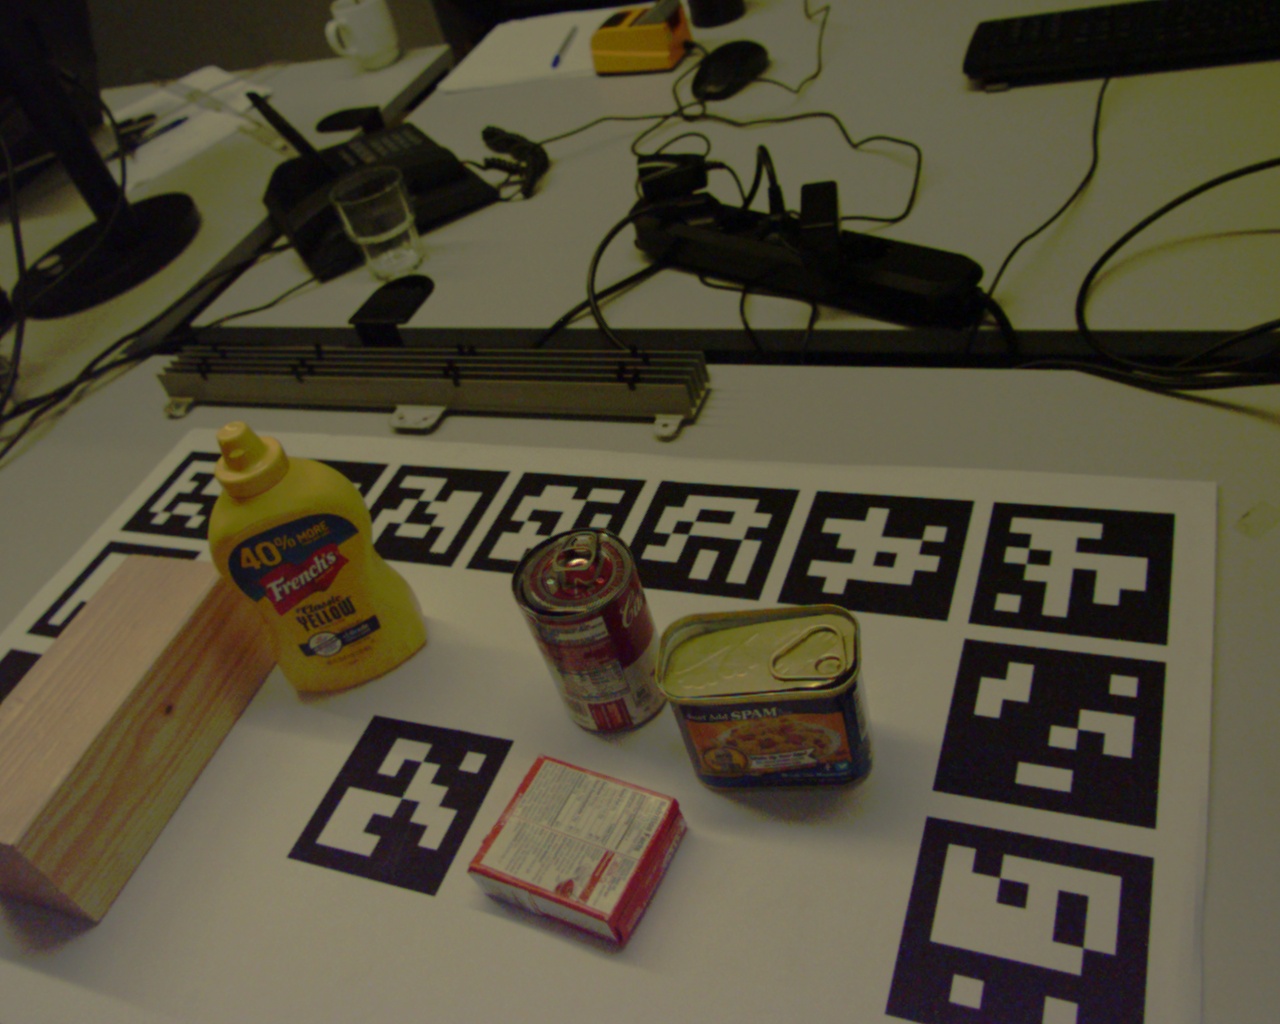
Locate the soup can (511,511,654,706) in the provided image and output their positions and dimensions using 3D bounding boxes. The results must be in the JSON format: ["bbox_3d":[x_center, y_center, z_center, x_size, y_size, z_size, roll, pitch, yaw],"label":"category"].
[{"bbox_3d":[-0.028,0.059,0.673,0.068,0.101,0.068,-11,42,10],"label":"soup can"}]

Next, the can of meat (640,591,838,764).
[{"bbox_3d":[0.058,0.094,0.629,0.102,0.083,0.058,-5,43,12],"label":"can of meat"}]

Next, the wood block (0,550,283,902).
[{"bbox_3d":[-0.329,0.128,0.734,0.092,0.089,0.205,6,42,23],"label":"wood block"}]

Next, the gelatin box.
[{"bbox_3d":[-0.038,0.170,0.615,0.090,0.030,0.073,11,51,33],"label":"gelatin box"}]

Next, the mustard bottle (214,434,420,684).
[{"bbox_3d":[-0.216,0.028,0.730,0.096,0.190,0.059,-13,40,4],"label":"mustard bottle"}]
